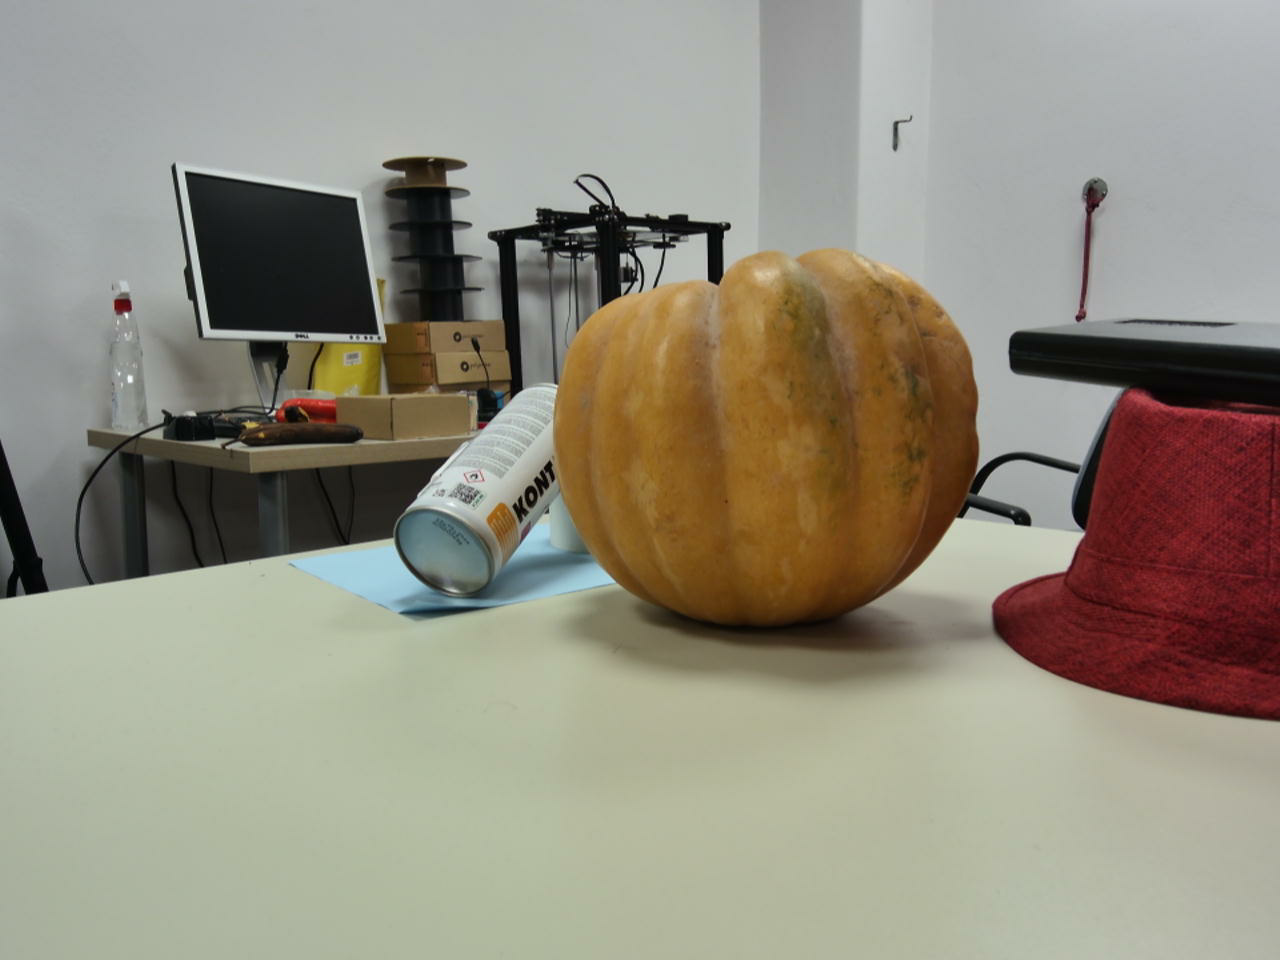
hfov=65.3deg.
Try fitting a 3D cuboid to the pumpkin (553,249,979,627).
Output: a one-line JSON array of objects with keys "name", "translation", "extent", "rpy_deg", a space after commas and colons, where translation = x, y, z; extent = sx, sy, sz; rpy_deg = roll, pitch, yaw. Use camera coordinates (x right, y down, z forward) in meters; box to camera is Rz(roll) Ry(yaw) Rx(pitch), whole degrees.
[{"name": "pumpkin", "translation": [0.066, -0.020, 0.548], "extent": [0.230, 0.194, 0.230], "rpy_deg": [1, 5, 0]}]
